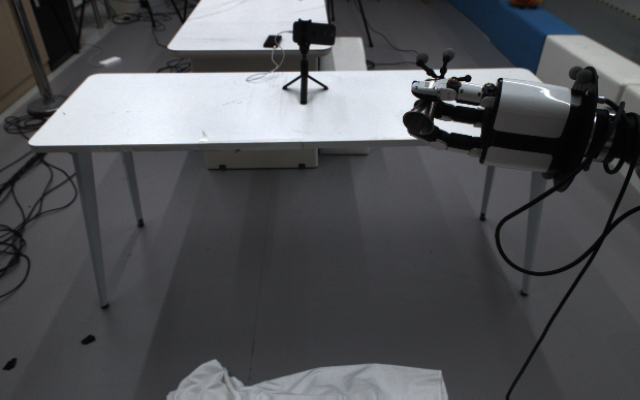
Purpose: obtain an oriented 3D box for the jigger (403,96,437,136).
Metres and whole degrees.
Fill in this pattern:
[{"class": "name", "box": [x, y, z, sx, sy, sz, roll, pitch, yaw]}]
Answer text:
[{"class": "jigger", "box": [0.144, -0.132, 0.653, 0.043, 0.043, 0.071, 19, 61, 23]}]
